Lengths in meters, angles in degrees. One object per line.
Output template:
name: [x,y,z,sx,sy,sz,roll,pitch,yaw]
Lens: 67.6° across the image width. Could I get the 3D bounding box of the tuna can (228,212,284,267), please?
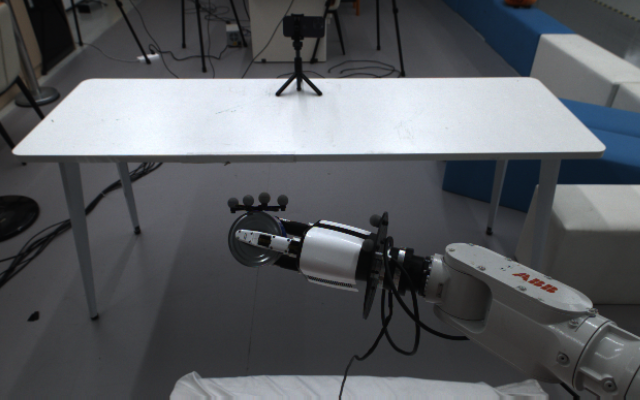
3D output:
tuna can: [-0.089,0.061,0.742,0.085,0.085,0.034,10,-6,11]
